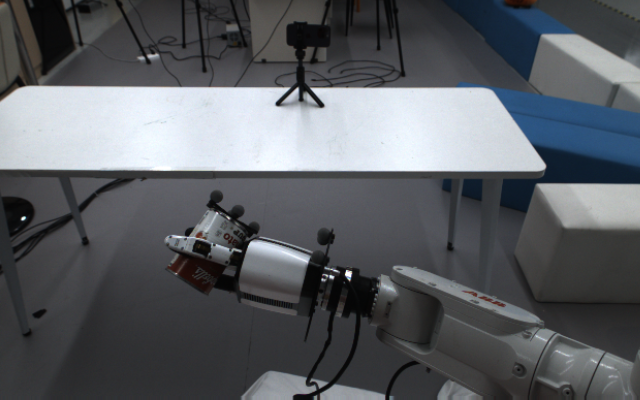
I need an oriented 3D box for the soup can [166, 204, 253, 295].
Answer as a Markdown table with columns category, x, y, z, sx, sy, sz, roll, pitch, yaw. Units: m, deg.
| category | x | y | z | sx | sy | sz | roll | pitch | yaw |
| --- | --- | --- | --- | --- | --- | --- | --- | --- | --- |
| soup can | -0.152 | 0.071 | 0.659 | 0.067 | 0.067 | 0.101 | 23 | 71 | 28 |
